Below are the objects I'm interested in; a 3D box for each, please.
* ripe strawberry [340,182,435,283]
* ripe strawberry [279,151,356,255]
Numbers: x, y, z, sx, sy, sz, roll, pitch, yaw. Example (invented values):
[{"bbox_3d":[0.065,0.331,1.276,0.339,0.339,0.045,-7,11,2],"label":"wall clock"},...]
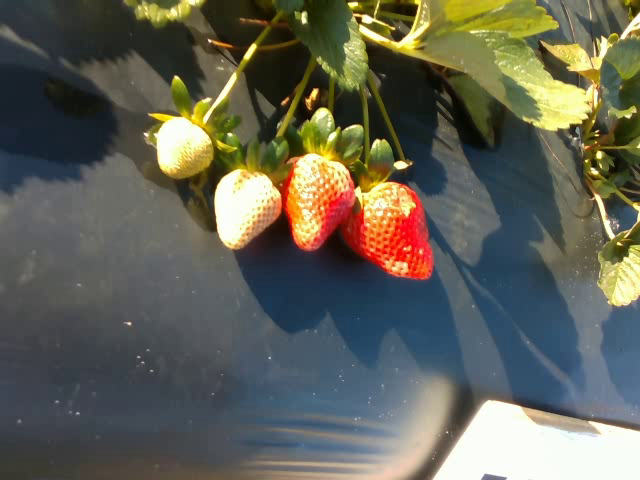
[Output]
[{"bbox_3d":[0.042,-0.002,0.338,0.057,0.067,0.051,-29,-17,-12],"label":"ripe strawberry"},{"bbox_3d":[-0.002,-0.018,0.311,0.044,0.061,0.050,-9,-41,30],"label":"ripe strawberry"}]
